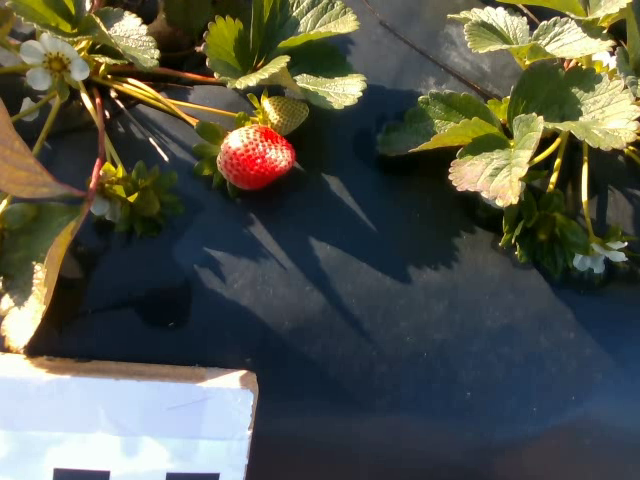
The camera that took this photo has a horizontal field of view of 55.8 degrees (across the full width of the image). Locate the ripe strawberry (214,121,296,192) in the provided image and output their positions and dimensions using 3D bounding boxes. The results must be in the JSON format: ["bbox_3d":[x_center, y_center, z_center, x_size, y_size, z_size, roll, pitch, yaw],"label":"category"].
[{"bbox_3d":[-0.025,-0.036,0.264,0.042,0.037,0.045,-19,17,-37],"label":"ripe strawberry"}]
